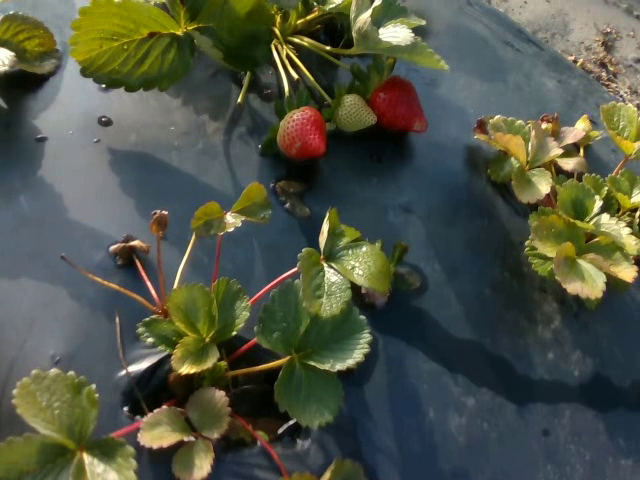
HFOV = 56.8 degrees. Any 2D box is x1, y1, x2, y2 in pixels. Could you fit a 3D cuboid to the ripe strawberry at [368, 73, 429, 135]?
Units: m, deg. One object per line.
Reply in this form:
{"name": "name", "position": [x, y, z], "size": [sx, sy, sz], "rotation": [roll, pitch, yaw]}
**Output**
{"name": "ripe strawberry", "position": [0.071, -0.111, 0.500], "size": [0.048, 0.065, 0.050], "rotation": [-41, -8, 12]}
